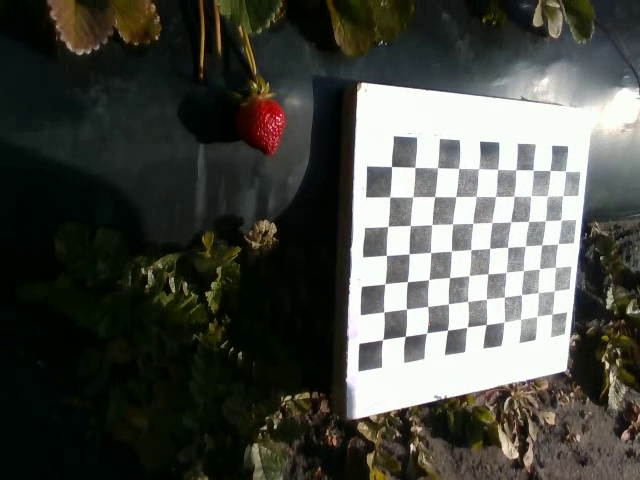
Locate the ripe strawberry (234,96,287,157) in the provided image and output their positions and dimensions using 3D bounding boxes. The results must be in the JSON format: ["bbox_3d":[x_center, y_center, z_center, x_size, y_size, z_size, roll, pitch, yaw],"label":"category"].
[{"bbox_3d":[-0.038,-0.074,0.385,0.040,0.044,0.036,-23,6,-25],"label":"ripe strawberry"}]
